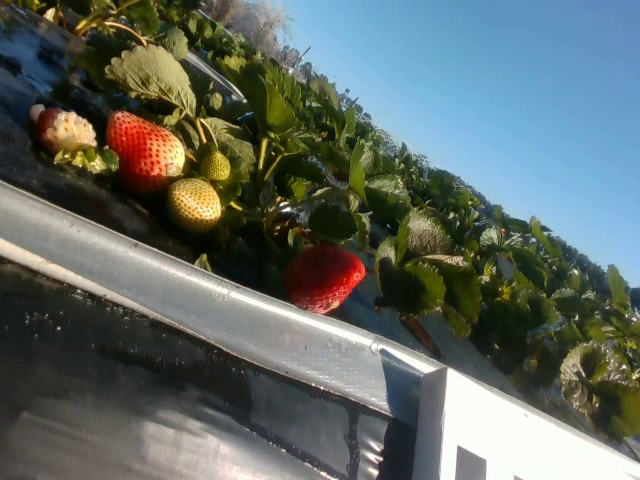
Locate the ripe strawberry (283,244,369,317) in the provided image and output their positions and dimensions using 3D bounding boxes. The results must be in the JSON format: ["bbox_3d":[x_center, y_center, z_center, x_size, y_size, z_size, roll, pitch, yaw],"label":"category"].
[{"bbox_3d":[0.003,0.015,0.254,0.036,0.038,0.046,29,-24,-22],"label":"ripe strawberry"}]
